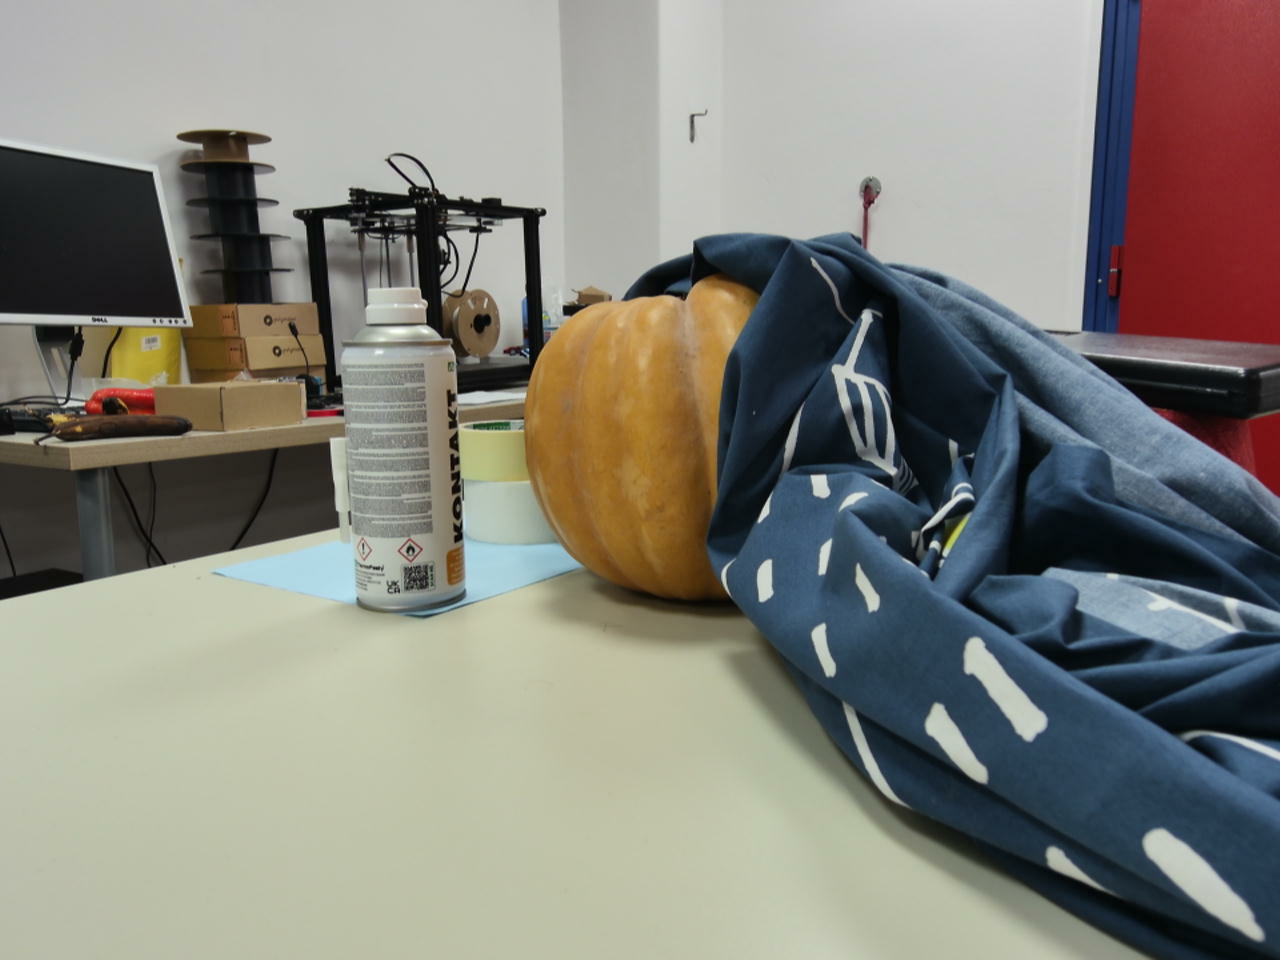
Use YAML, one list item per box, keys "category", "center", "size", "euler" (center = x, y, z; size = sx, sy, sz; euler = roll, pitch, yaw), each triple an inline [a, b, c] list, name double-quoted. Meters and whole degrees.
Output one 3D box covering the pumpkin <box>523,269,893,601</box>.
- category: "pumpkin"
  center: [0.040, -0.027, 0.615]
  size: [0.230, 0.194, 0.230]
  euler: [1, 7, 0]
